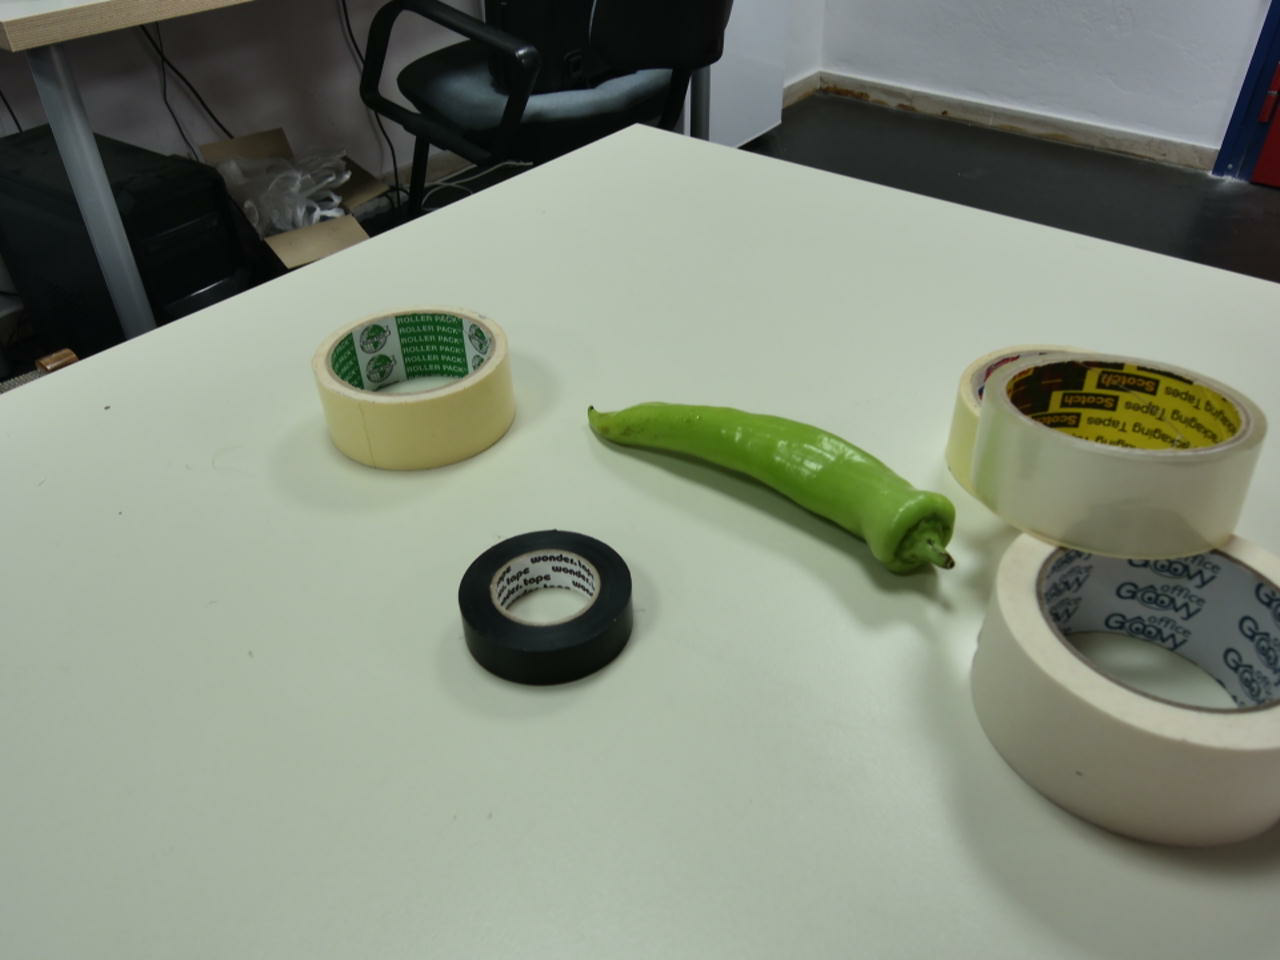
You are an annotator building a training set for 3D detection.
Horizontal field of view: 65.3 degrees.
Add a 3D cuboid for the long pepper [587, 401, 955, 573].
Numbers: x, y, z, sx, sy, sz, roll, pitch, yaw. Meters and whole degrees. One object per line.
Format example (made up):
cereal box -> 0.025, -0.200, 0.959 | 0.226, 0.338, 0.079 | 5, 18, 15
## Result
long pepper -> 0.055, -0.010, 0.437 | 0.197, 0.038, 0.046 | 28, 45, 33
